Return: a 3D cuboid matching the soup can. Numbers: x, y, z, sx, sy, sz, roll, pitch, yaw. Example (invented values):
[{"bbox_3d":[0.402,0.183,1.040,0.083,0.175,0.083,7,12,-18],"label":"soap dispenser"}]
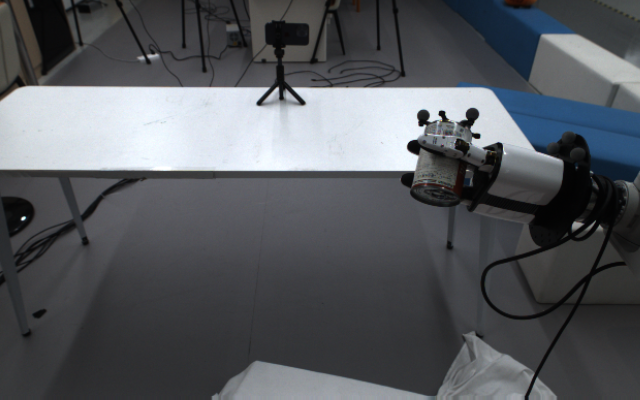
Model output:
[{"bbox_3d":[0.168,-0.051,0.665,0.067,0.067,0.101,11,72,13],"label":"soup can"}]
